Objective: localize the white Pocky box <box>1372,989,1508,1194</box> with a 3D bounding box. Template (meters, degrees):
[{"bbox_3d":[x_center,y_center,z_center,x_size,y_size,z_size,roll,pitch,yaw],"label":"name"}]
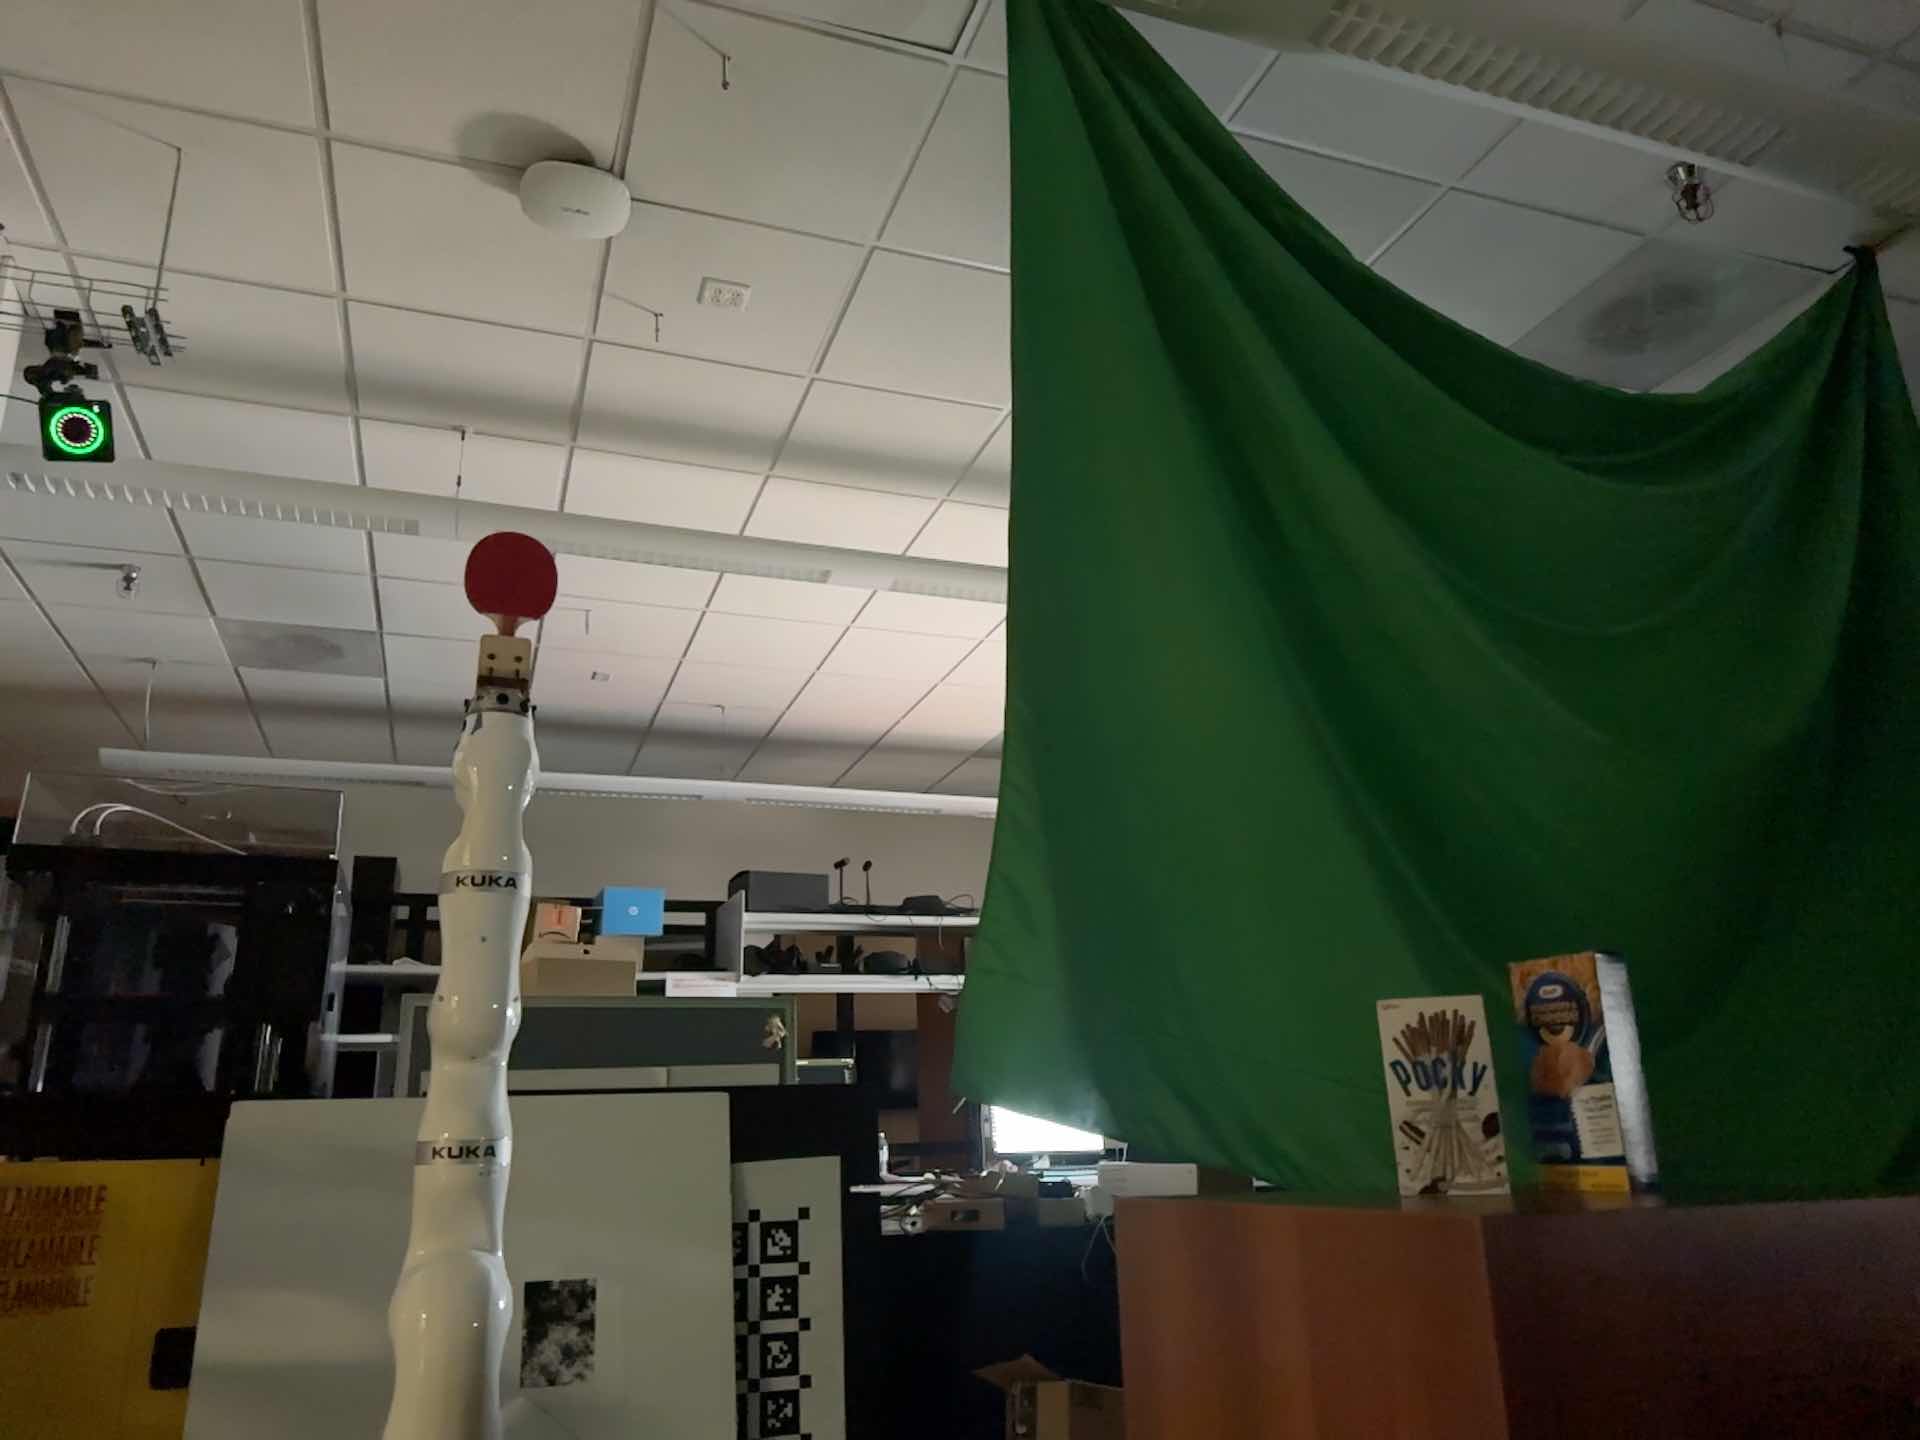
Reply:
[{"bbox_3d":[0.378,0.293,1.063,0.084,0.154,0.028,-7,-16,19],"label":"white Pocky box"}]

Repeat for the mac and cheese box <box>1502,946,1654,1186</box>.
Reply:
[{"bbox_3d":[0.500,0.282,1.096,0.035,0.181,0.088,7,-18,-26],"label":"mac and cheese box"}]
